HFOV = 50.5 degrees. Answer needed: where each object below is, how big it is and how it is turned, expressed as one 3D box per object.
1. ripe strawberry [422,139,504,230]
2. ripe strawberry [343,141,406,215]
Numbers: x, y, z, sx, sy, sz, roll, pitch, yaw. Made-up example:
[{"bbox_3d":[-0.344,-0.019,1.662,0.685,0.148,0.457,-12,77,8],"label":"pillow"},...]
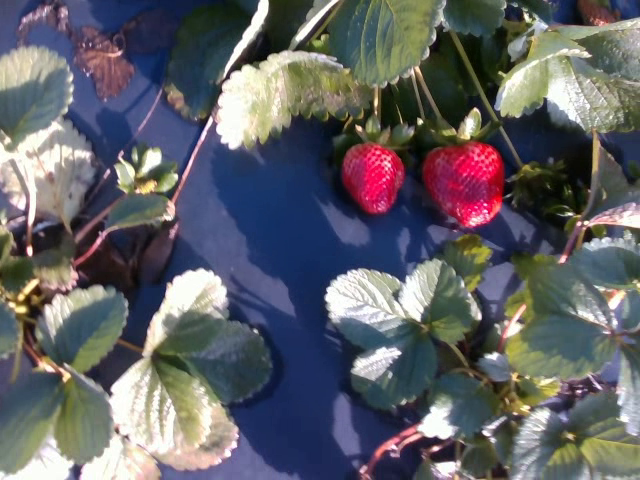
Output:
[{"bbox_3d":[0.085,-0.029,0.376,0.052,0.058,0.046,-16,-29,18],"label":"ripe strawberry"},{"bbox_3d":[0.029,-0.033,0.375,0.043,0.052,0.036,-25,-30,22],"label":"ripe strawberry"}]
